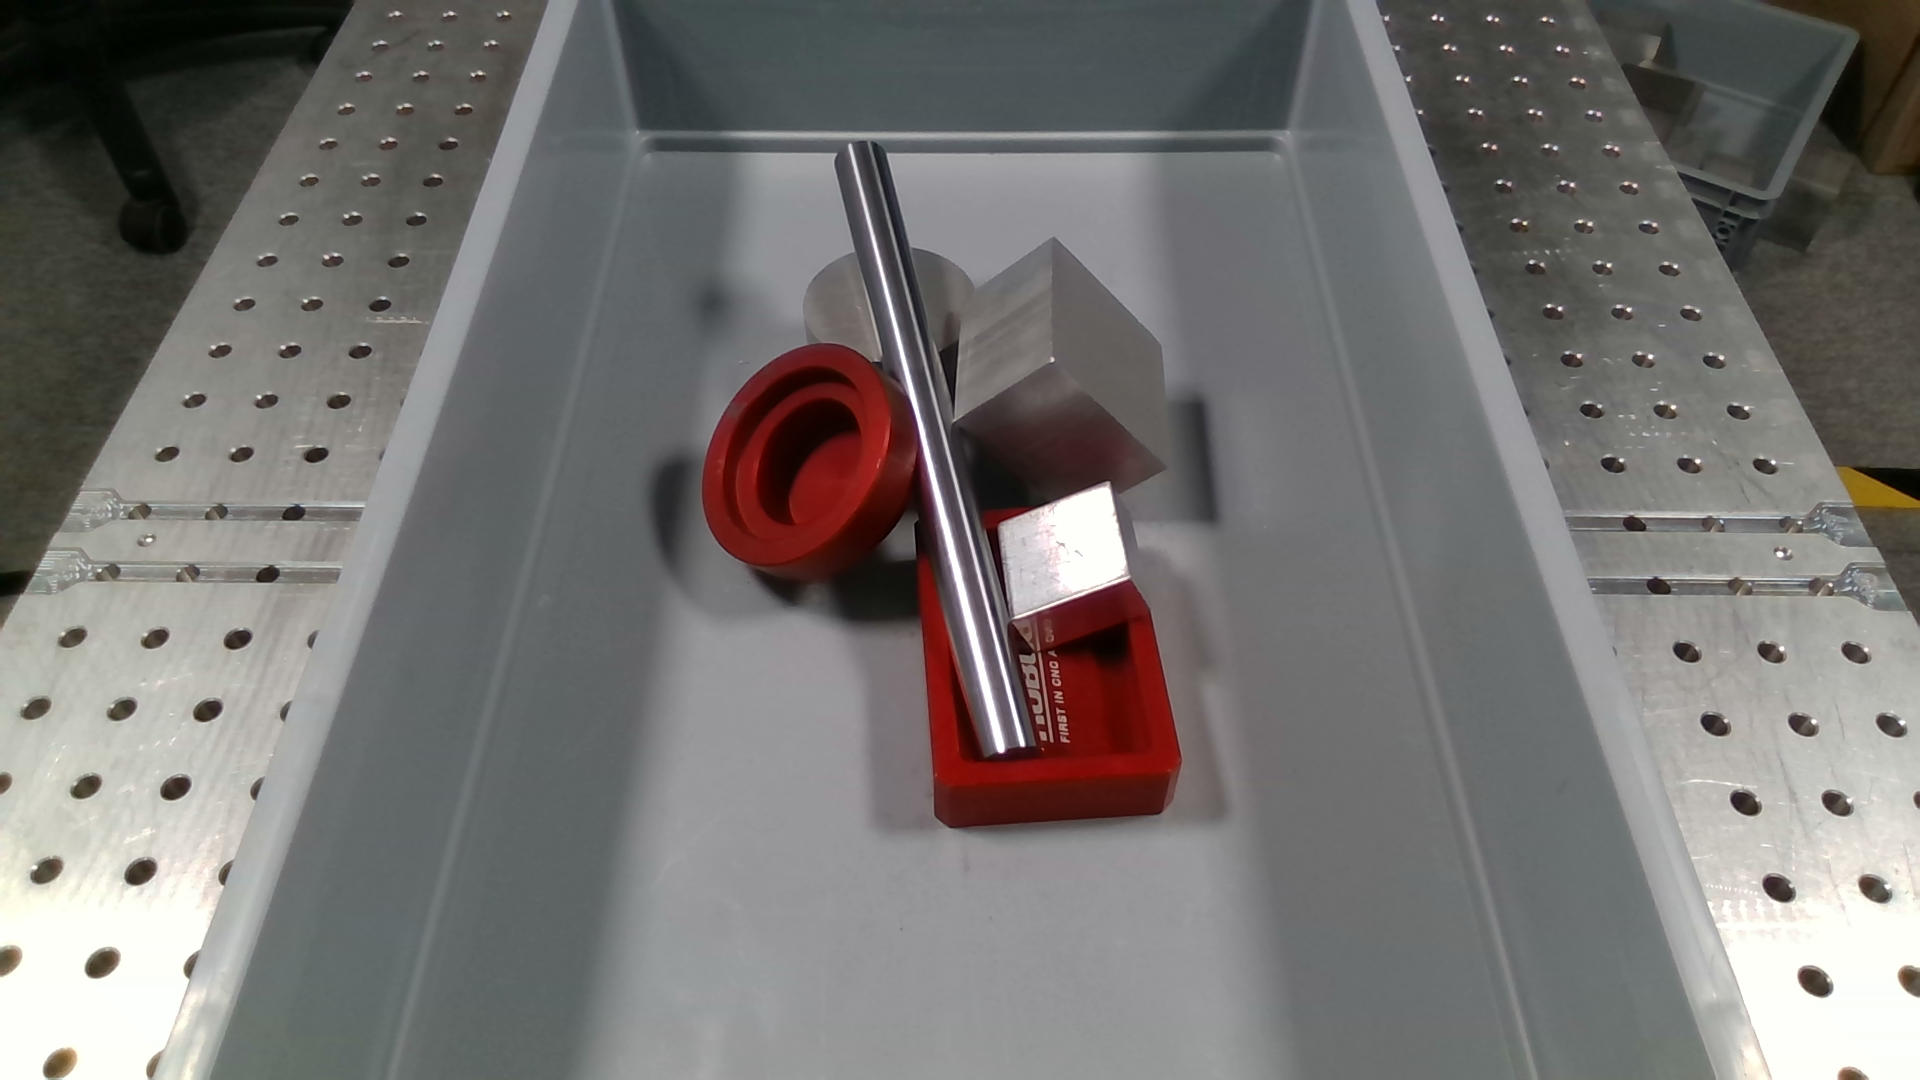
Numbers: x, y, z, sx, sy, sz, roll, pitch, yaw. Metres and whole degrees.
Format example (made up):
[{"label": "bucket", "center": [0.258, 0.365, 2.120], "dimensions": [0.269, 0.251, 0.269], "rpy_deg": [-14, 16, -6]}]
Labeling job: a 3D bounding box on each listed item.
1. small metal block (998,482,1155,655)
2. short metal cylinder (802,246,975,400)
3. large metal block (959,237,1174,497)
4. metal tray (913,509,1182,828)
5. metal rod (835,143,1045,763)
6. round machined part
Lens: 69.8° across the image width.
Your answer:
[{"label": "small metal block", "center": [0.046, 0.011, 0.548], "dimensions": [0.050, 0.025, 0.050], "rpy_deg": [-21, 48, 17]}, {"label": "short metal cylinder", "center": [-0.032, -0.094, 0.646], "dimensions": [0.080, 0.050, 0.080], "rpy_deg": [0, 50, 0]}, {"label": "large metal block", "center": [0.047, -0.069, 0.597], "dimensions": [0.050, 0.080, 0.080], "rpy_deg": [-29, 39, 32]}, {"label": "metal tray", "center": [0.030, 0.046, 0.543], "dimensions": [0.090, 0.030, 0.130], "rpy_deg": [-4, 50, -3]}, {"label": "metal rod", "center": [-0.014, -0.048, 0.572], "dimensions": [0.025, 0.025, 0.299], "rpy_deg": [-10, 62, -8]}, {"label": "round machined part", "center": [-0.058, -0.030, 0.578], "dimensions": [0.098, 0.042, 0.098], "rpy_deg": [-14, 64, 29]}]
